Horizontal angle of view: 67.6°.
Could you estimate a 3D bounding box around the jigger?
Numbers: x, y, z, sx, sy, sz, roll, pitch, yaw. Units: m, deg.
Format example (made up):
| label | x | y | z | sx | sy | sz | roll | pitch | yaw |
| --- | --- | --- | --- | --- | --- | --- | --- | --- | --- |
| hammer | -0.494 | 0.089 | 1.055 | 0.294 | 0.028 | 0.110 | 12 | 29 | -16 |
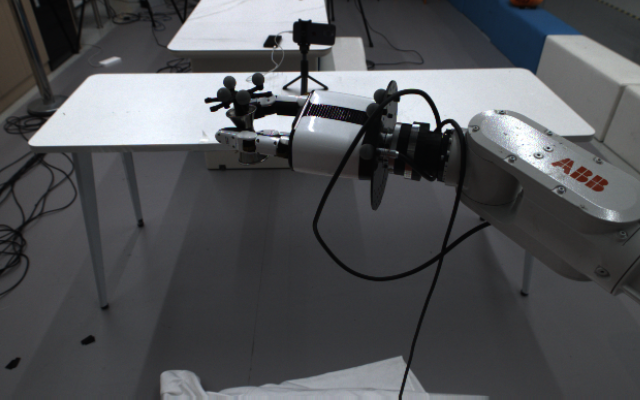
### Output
| label | x | y | z | sx | sy | sz | roll | pitch | yaw |
| --- | --- | --- | --- | --- | --- | --- | --- | --- | --- |
| jigger | -0.096 | -0.088 | 0.639 | 0.043 | 0.071 | 0.043 | -9 | 31 | 5 |
